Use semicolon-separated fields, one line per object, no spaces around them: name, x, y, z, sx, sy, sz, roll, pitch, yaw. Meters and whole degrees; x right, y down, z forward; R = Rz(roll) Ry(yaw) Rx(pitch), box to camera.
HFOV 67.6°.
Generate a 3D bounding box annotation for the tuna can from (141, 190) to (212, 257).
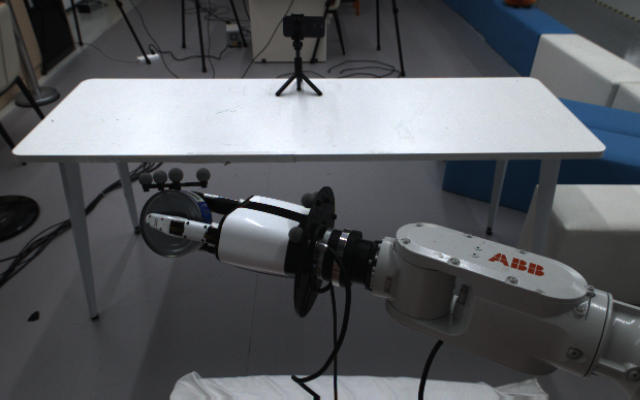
tuna can;-0.178;0.031;0.618;0.085;0.085;0.034;10;2;11
